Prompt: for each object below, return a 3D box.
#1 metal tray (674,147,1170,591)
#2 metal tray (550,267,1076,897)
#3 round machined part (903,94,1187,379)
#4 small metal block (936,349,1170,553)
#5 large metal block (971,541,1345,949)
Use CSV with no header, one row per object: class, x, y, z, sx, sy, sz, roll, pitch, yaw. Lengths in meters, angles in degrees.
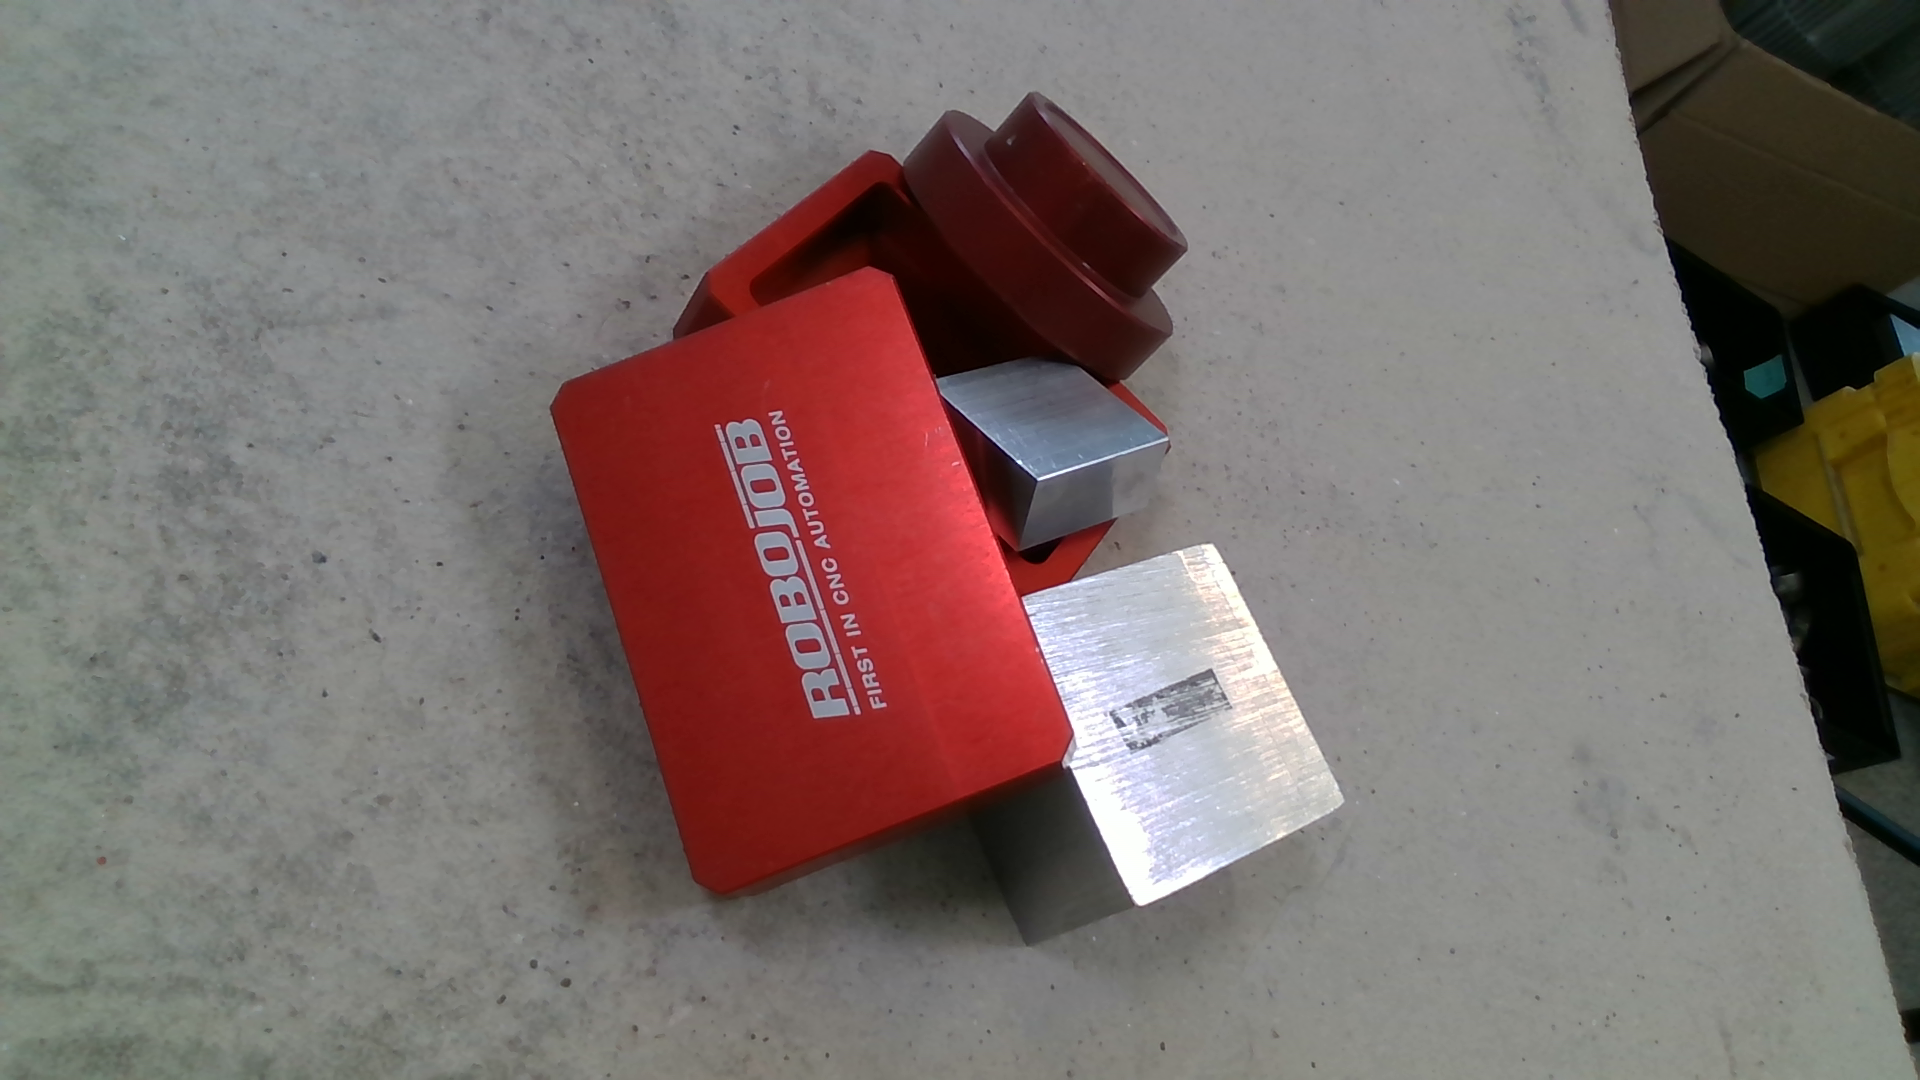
metal tray,-0.008,-0.045,0.409,0.130,0.030,0.090,44,51,-4
metal tray,-0.036,0.009,0.333,0.090,0.030,0.130,-21,74,0
round machined part,0.032,-0.100,0.429,0.098,0.042,0.098,39,22,-18
small metal block,0.022,-0.027,0.392,0.050,0.025,0.050,-19,48,-35
large metal block,0.045,0.054,0.376,0.080,0.050,0.080,-14,73,-36
